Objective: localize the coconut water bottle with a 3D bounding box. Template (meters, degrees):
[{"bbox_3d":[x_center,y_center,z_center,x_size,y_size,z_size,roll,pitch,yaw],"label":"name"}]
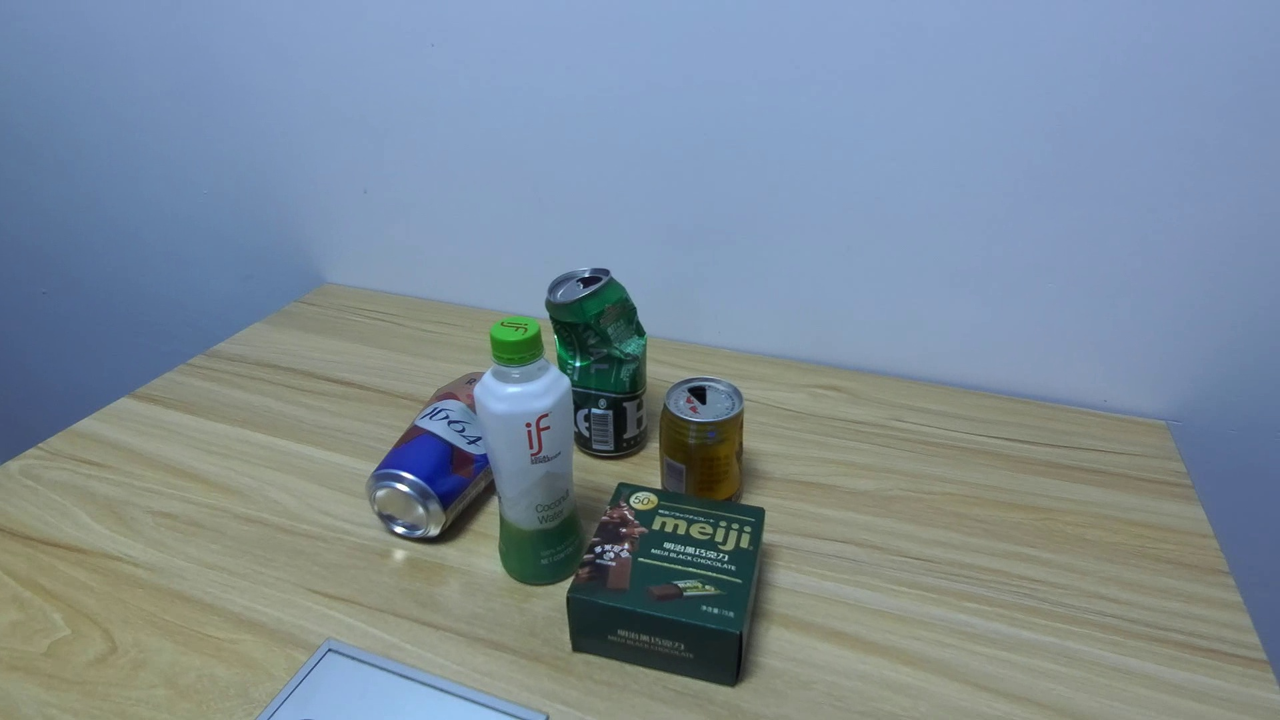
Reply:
[{"bbox_3d":[-0.073,0.062,0.472,0.063,0.189,0.063,-1,31,1],"label":"coconut water bottle"}]

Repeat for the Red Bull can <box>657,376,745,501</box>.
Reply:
[{"bbox_3d":[0.049,0.068,0.549,0.069,0.092,0.069,-1,29,1],"label":"Red Bull can"}]

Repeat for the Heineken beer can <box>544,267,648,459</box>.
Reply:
[{"bbox_3d":[-0.030,0.005,0.599,0.079,0.159,0.067,-10,26,1],"label":"Heineken beer can"}]

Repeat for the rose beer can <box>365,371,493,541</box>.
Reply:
[{"bbox_3d":[-0.150,0.069,0.581,0.069,0.069,0.168,-13,26,30],"label":"rose beer can"}]

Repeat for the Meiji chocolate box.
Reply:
[{"bbox_3d":[0.021,0.143,0.466,0.110,0.056,0.109,8,33,14],"label":"Meiji chocolate box"}]
